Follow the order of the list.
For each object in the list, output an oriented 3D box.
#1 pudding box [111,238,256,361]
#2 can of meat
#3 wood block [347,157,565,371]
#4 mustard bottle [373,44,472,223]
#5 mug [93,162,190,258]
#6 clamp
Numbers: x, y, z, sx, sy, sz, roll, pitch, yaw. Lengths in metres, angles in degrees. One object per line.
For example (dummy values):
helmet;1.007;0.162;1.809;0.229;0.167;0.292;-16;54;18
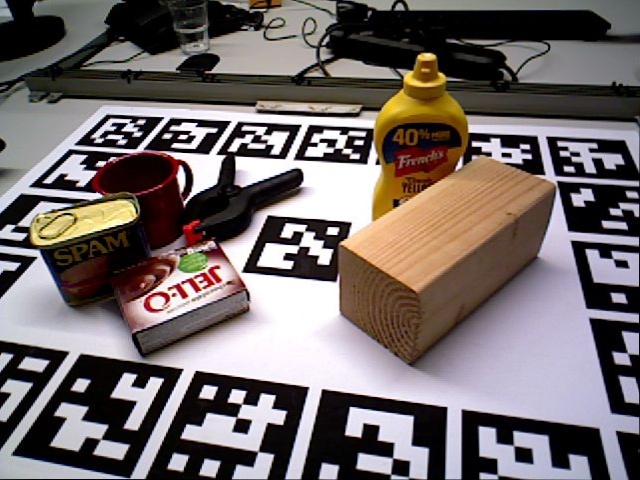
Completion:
pudding box;-0.129;0.053;0.516;0.112;0.039;0.089;-22;44;-21
can of meat;-0.223;0.011;0.531;0.100;0.085;0.057;-16;43;-13
wood block;0.128;0.013;0.504;0.202;0.093;0.090;-31;46;-30
mustard bottle;0.102;-0.100;0.549;0.096;0.195;0.057;1;42;6
mug;-0.192;-0.036;0.625;0.093;0.083;0.114;21;48;26
clamp;-0.104;-0.051;0.642;0.122;0.037;0.161;19;48;23
